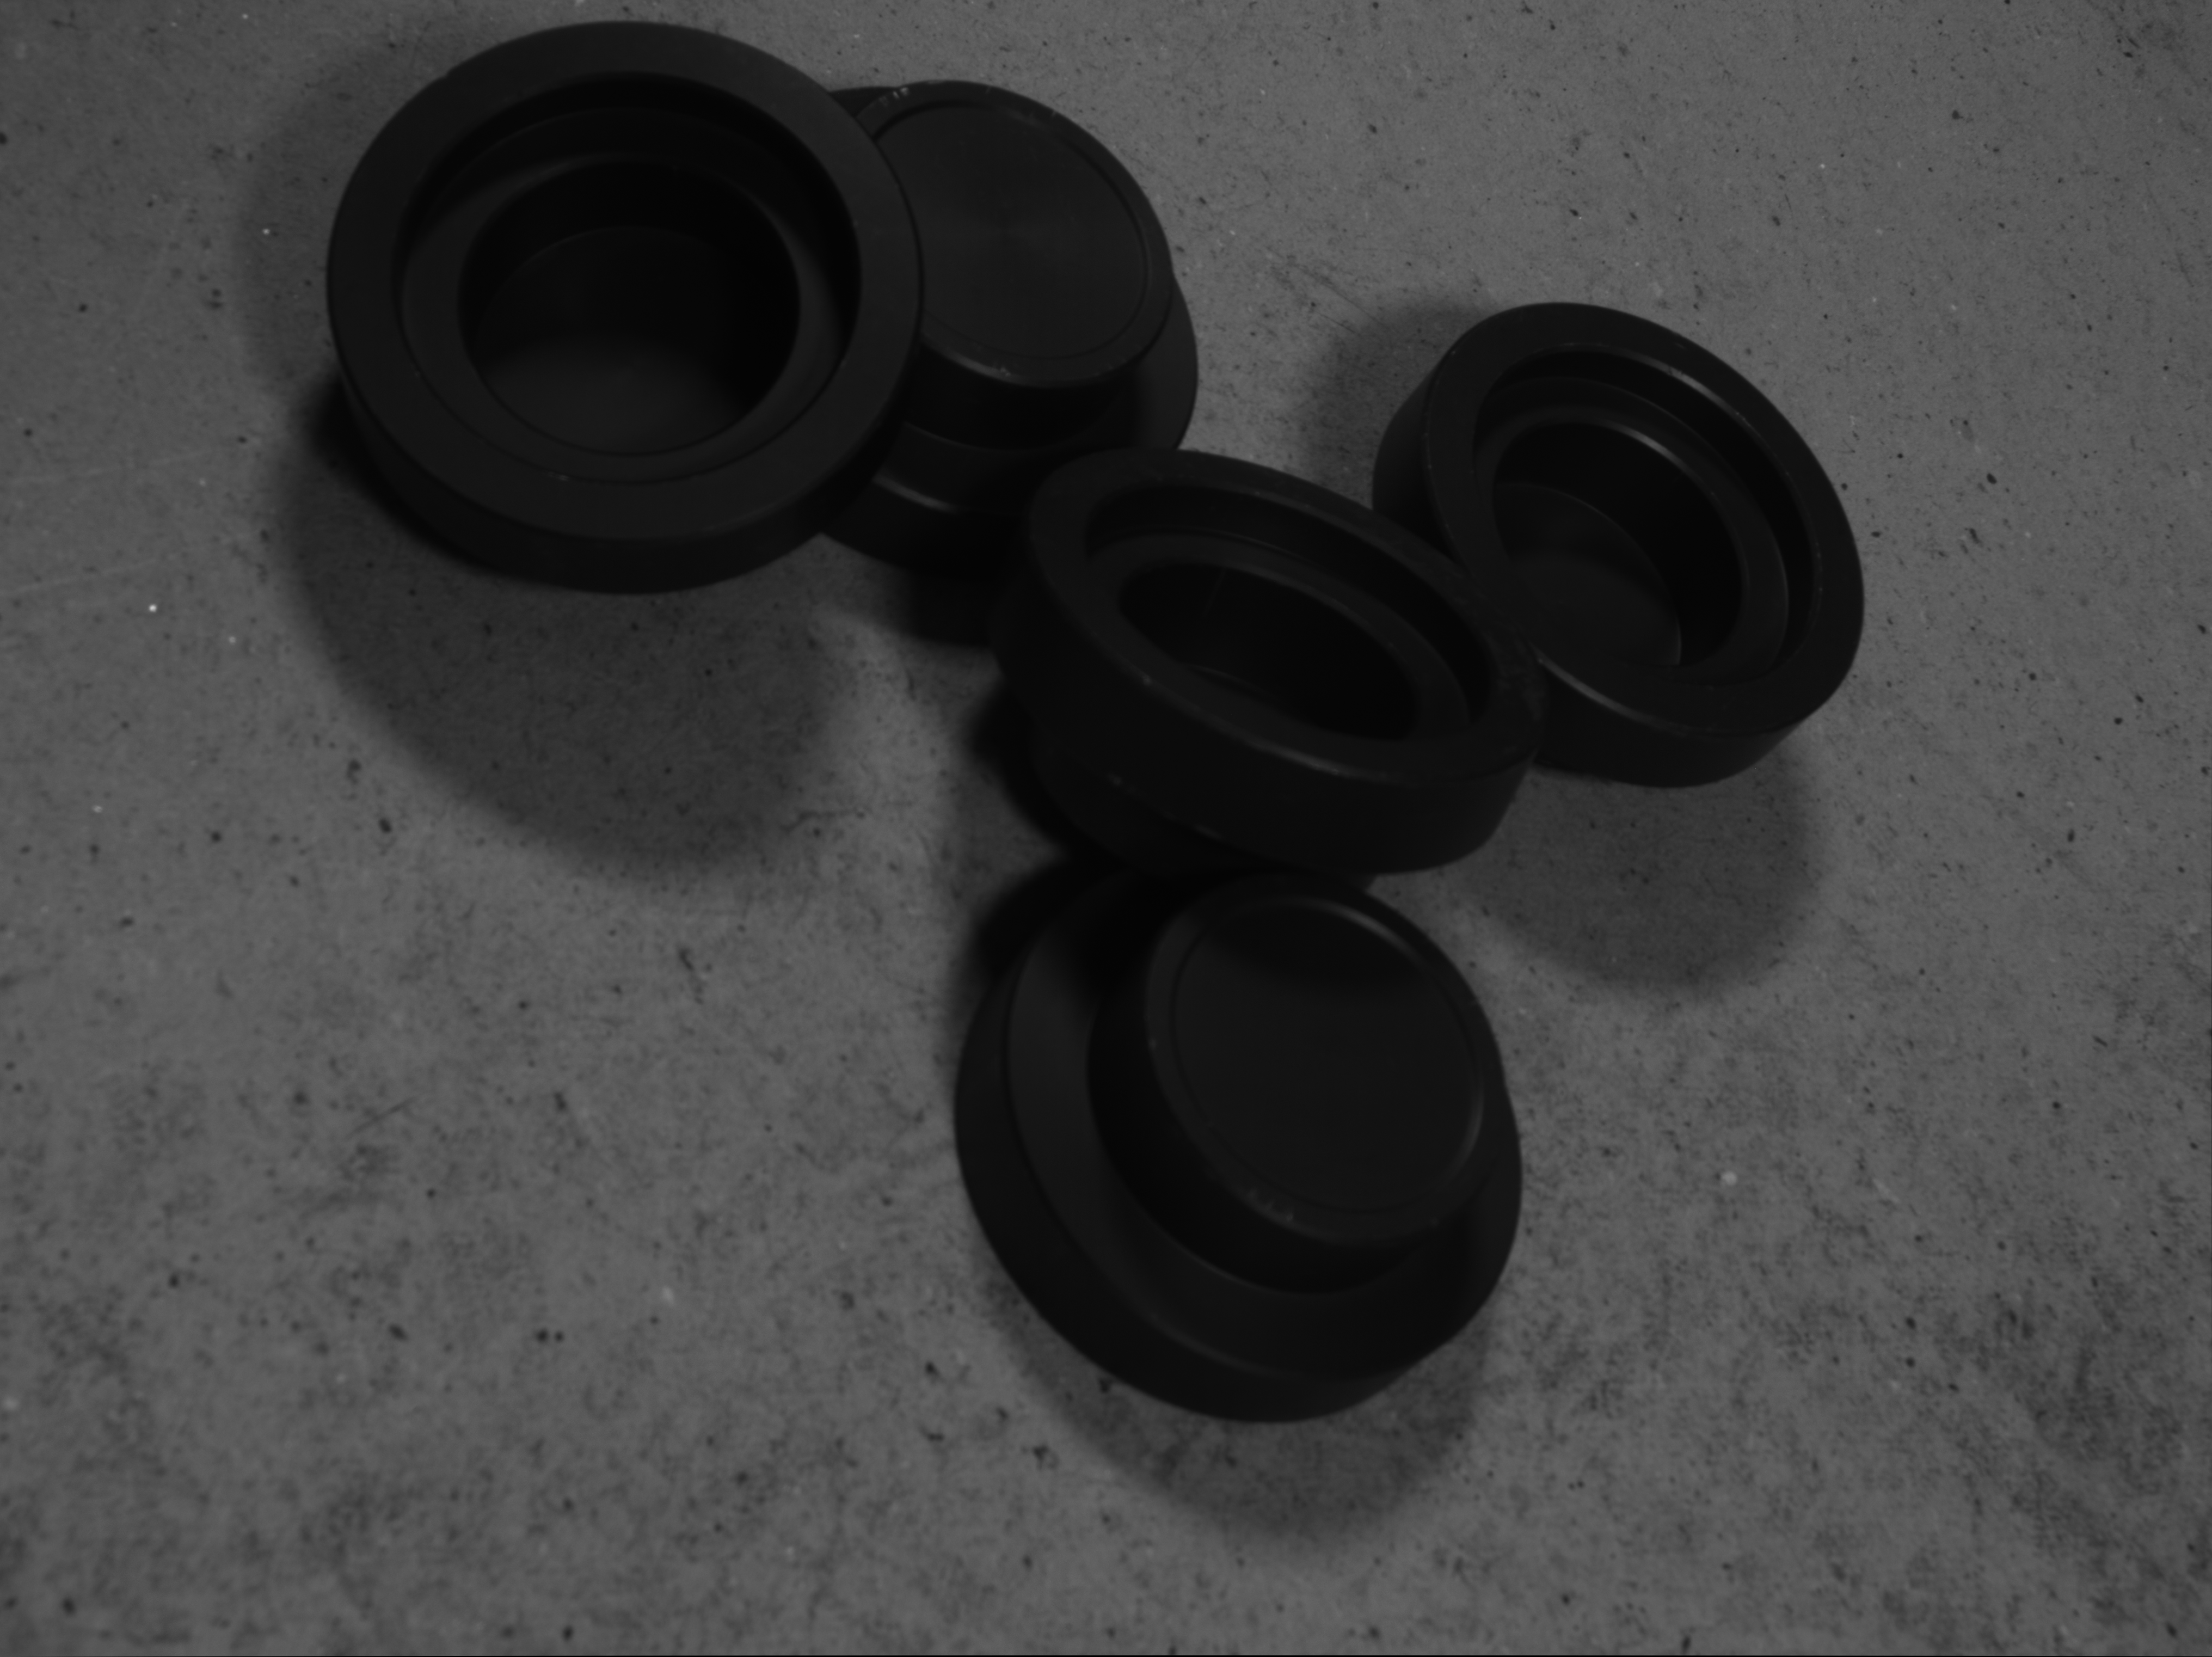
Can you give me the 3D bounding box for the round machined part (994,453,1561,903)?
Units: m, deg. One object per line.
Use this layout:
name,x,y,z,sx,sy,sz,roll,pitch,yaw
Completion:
round machined part,0.027,-0.022,0.643,0.098,0.042,0.098,16,33,-11

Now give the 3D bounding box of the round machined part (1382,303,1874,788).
round machined part,0.097,-0.050,0.712,0.098,0.042,0.098,14,56,-21

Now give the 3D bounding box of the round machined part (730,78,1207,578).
round machined part,-0.025,-0.098,0.675,0.098,0.042,0.098,14,56,-21

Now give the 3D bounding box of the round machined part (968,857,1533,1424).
round machined part,0.030,0.047,0.616,0.098,0.042,0.098,14,56,-21

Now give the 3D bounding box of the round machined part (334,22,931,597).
round machined part,-0.080,-0.084,0.624,0.098,0.042,0.098,2,70,-5
